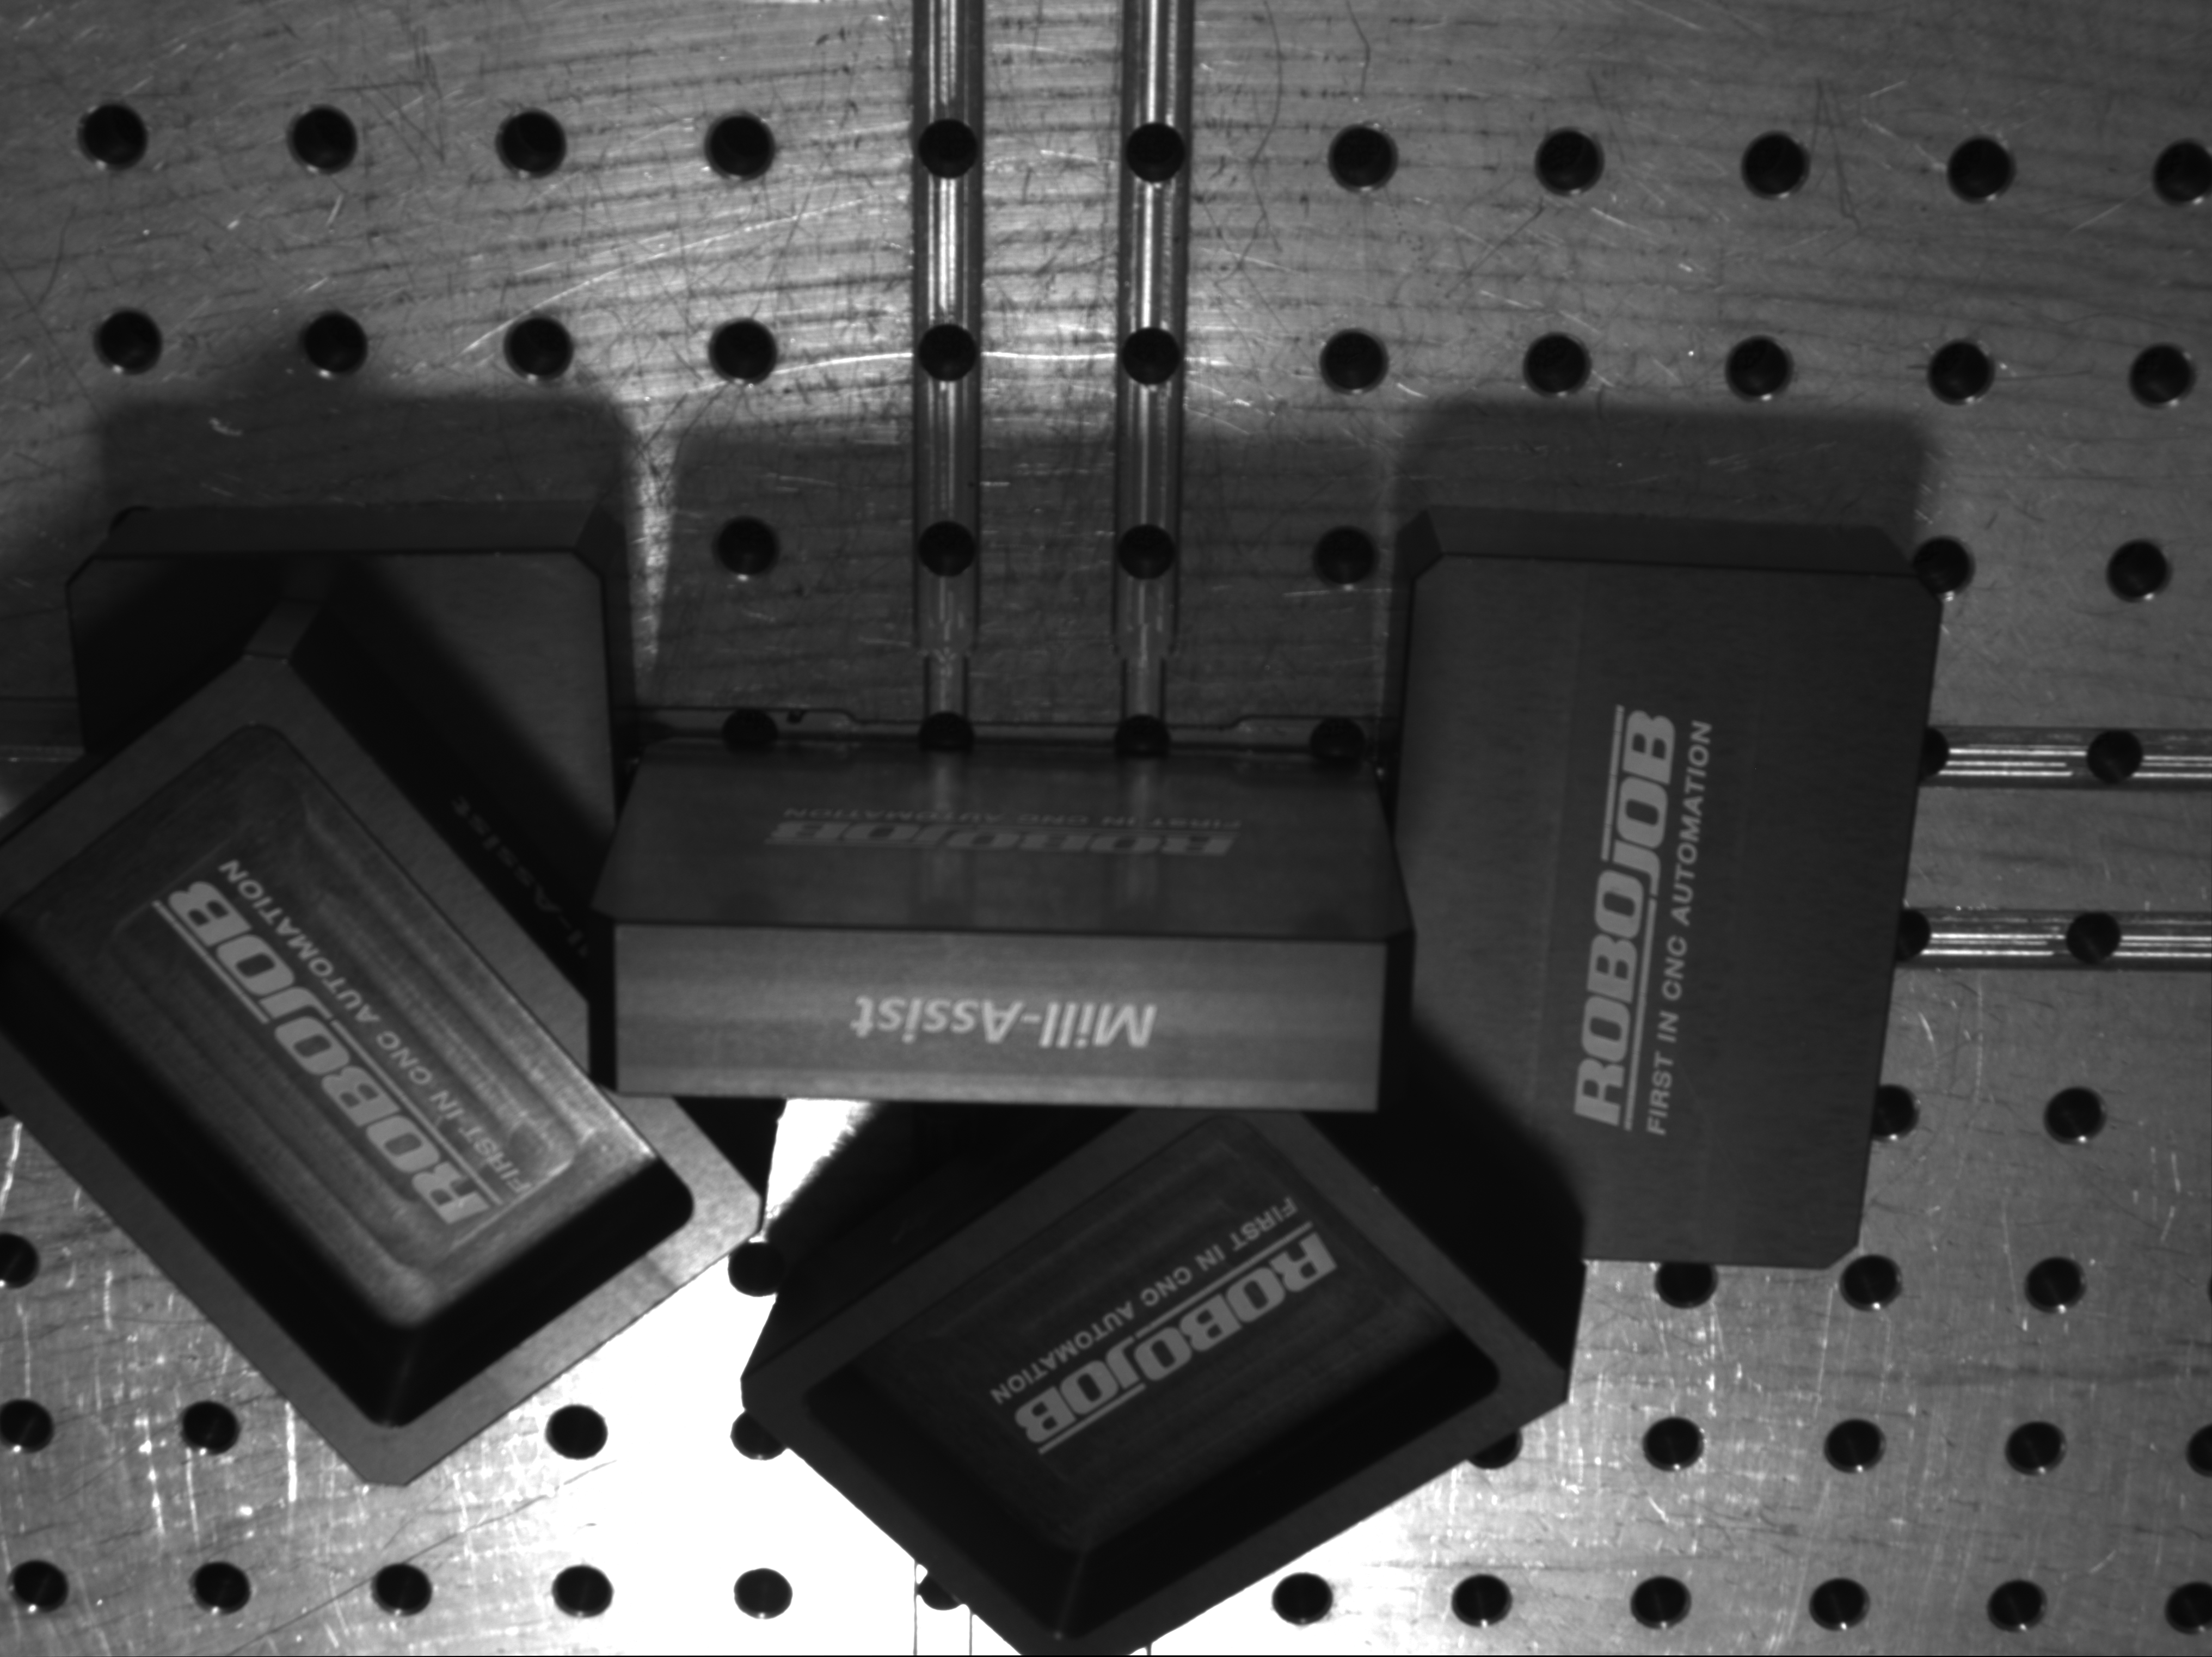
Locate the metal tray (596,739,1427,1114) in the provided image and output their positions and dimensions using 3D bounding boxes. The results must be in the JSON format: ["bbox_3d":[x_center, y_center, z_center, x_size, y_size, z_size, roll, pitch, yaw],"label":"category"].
[{"bbox_3d":[-0.015,0.015,0.615,0.130,0.090,0.030,1,110,-1],"label":"metal tray"}]

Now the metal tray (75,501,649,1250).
[{"bbox_3d":[-0.126,0.010,0.645,0.090,0.030,0.130,-1,111,0],"label":"metal tray"}]

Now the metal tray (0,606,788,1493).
[{"bbox_3d":[-0.128,0.039,0.622,0.090,0.030,0.130,-36,107,11],"label":"metal tray"}]

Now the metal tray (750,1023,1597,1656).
[{"bbox_3d":[0.011,0.092,0.657,0.130,0.030,0.090,-37,107,30],"label":"metal tray"}]

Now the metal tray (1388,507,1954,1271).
[{"bbox_3d":[0.094,0.012,0.647,0.090,0.030,0.130,3,110,-2],"label":"metal tray"}]
